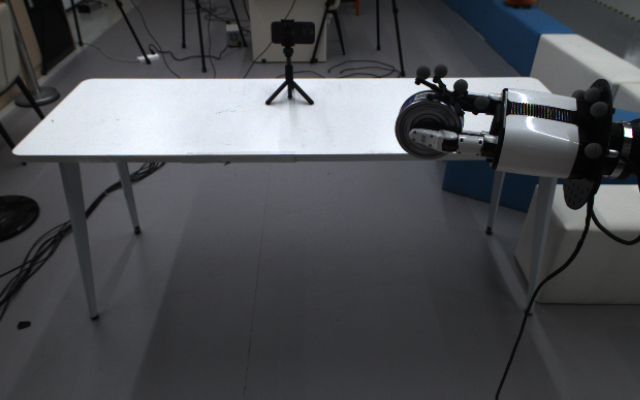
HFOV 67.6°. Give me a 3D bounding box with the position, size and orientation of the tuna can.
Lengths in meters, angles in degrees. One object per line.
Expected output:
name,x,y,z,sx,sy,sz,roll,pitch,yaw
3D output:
tuna can,0.143,-0.098,0.629,0.085,0.085,0.034,12,35,14
